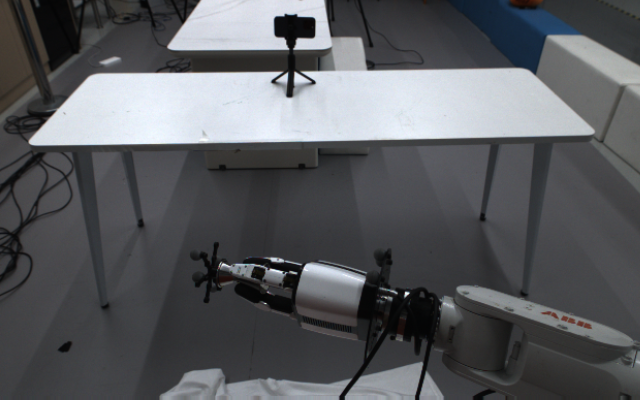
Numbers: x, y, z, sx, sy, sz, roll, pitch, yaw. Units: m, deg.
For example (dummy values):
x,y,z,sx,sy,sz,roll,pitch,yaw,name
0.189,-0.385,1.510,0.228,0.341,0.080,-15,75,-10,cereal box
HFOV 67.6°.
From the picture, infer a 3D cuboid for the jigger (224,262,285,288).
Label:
x,y,z,sx,sy,sz,roll,pitch,yaw,name
-0.101,0.105,0.695,0.071,0.043,0.043,3,34,14,jigger
